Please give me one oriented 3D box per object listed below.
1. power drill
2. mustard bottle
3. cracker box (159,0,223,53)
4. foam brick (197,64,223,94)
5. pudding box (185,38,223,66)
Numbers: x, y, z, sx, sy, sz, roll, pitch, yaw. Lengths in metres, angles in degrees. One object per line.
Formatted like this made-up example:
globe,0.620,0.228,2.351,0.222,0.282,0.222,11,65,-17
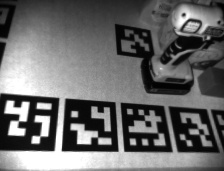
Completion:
power drill,0.172,-0.075,0.422,0.186,0.186,0.057,3,58,-17
mustard bottle,0.140,-0.252,0.534,0.096,0.191,0.058,16,59,-8
cracker box,0.230,-0.159,0.505,0.165,0.213,0.071,1,60,-14
foam brick,0.262,-0.015,0.539,0.078,0.051,0.052,7,62,-15
pudding box,0.211,-0.092,0.526,0.114,0.090,0.038,4,59,-13
